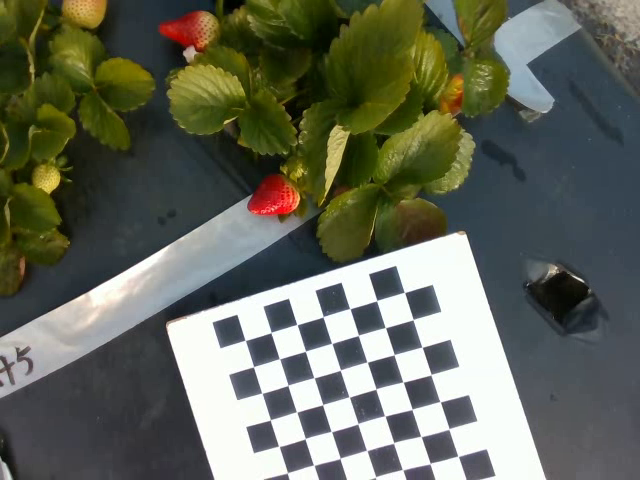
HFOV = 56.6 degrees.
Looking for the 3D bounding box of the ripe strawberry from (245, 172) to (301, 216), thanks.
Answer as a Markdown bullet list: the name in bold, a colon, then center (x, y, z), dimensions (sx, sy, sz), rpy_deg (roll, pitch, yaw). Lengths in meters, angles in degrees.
- **ripe strawberry**: center (-0.039, -0.032, 0.472), dimensions (0.055, 0.050, 0.036), rpy_deg (-24, 4, -11)
